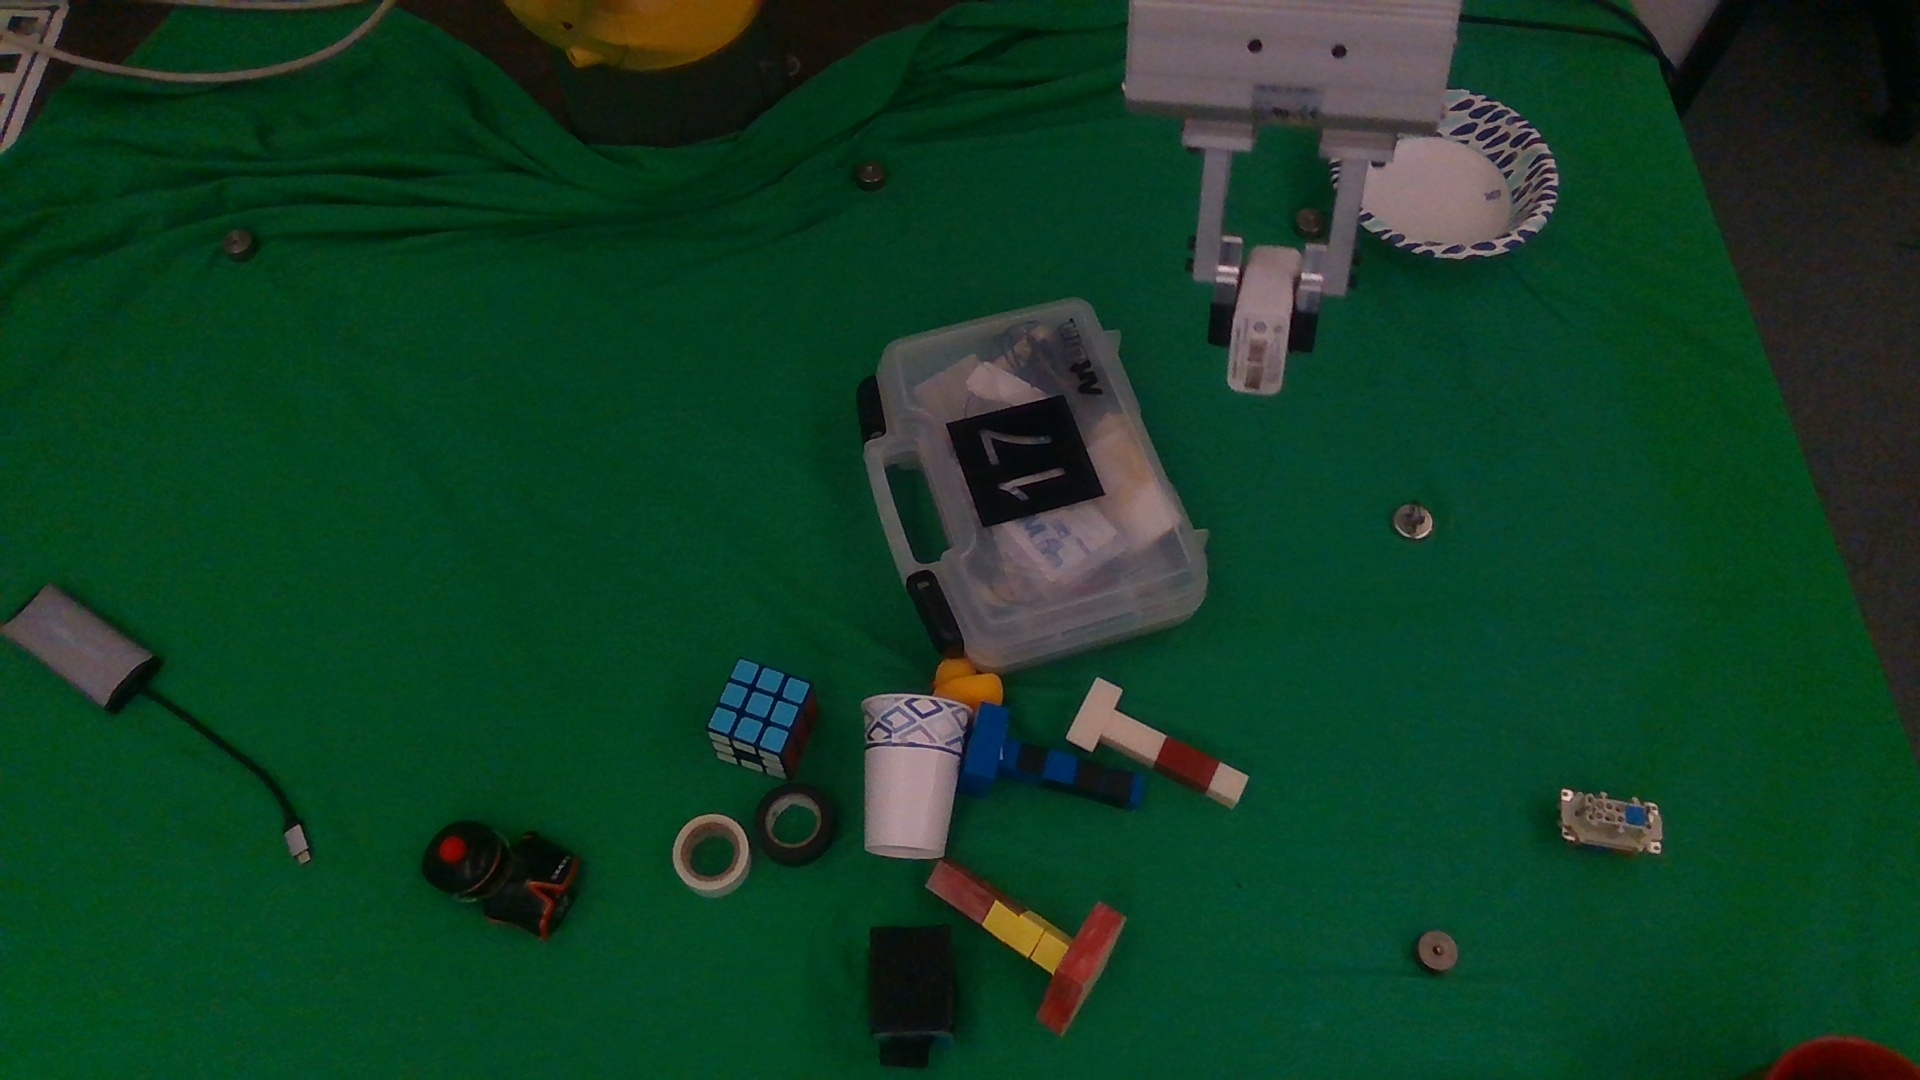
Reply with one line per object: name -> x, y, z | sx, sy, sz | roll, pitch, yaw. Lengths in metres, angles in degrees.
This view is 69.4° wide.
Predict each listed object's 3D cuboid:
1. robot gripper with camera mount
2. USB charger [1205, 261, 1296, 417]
robot gripper with camera mount -> 0.150, -0.181, 0.601 | 0.119, 0.158, 0.193 | 11, 35, 18
USB charger -> 0.119, -0.079, 0.572 | 0.029, 0.044, 0.075 | 9, 43, 17
